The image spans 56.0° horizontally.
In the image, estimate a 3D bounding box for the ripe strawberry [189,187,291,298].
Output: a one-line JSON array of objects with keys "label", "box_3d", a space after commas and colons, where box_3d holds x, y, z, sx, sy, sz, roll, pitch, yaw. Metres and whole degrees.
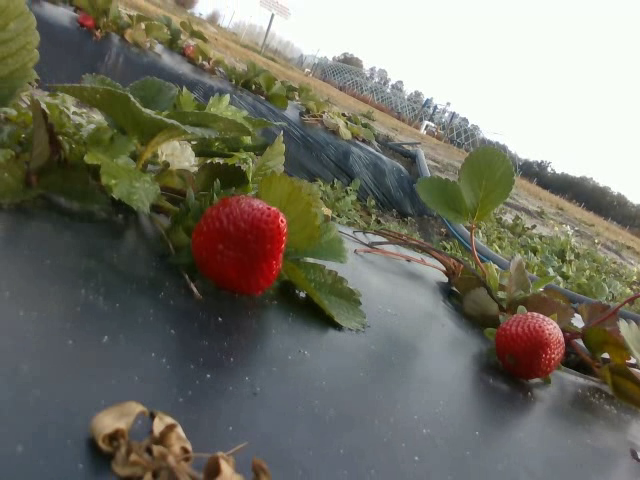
[{"label": "ripe strawberry", "box_3d": [-0.028, -0.002, 0.226, 0.046, 0.051, 0.050, -43, -1, -33]}]

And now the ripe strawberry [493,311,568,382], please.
[{"label": "ripe strawberry", "box_3d": [0.105, 0.051, 0.292, 0.041, 0.045, 0.052, -28, -18, -2]}]
